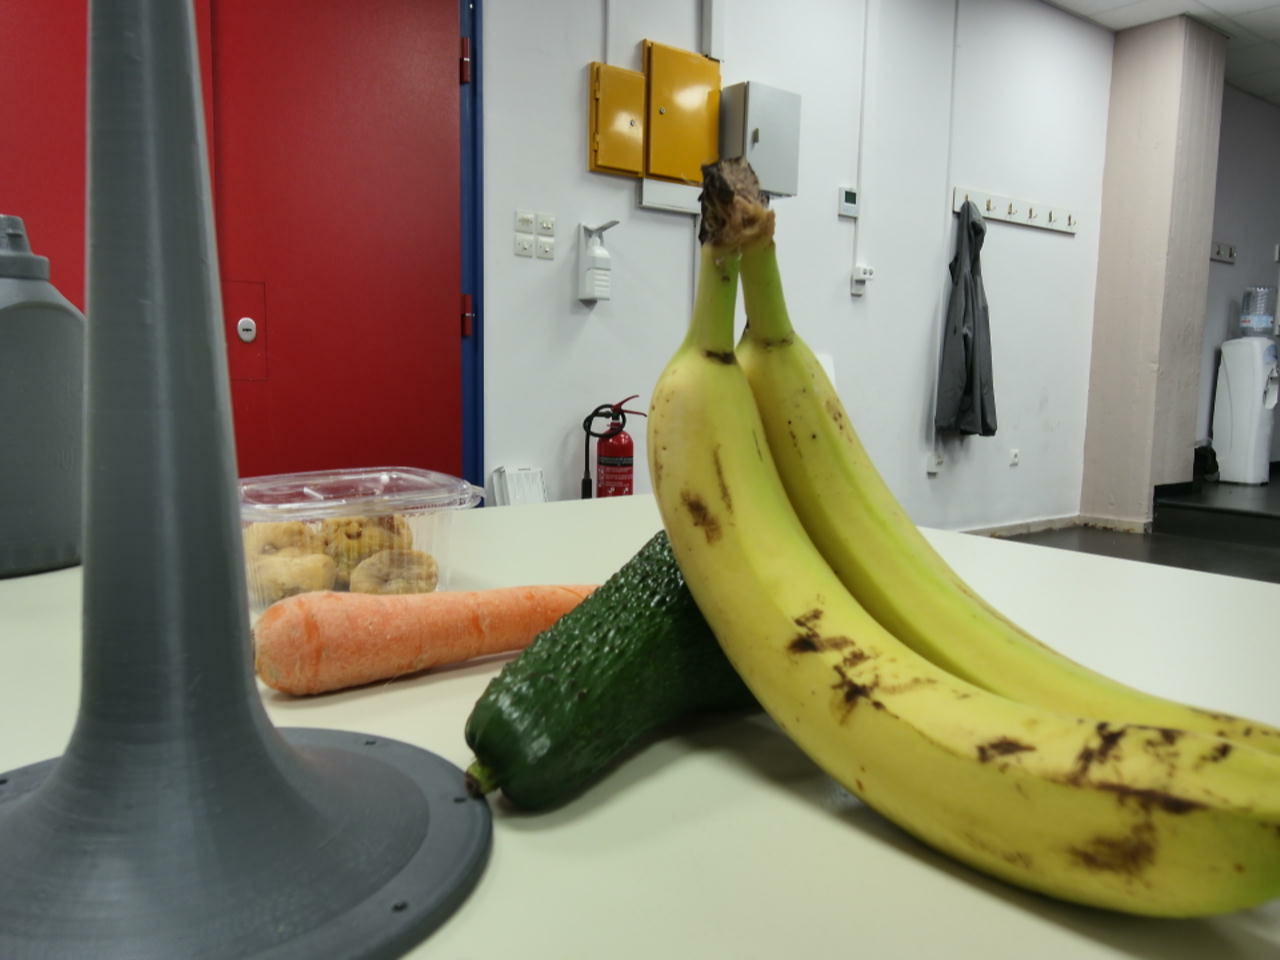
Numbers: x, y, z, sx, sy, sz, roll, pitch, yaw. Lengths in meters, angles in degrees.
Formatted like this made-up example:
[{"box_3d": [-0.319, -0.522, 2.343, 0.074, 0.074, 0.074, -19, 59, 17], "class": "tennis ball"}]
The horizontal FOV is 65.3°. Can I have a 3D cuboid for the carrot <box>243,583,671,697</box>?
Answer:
[{"box_3d": [-0.066, 0.058, 0.426, 0.196, 0.041, 0.039, -5, 6, -37], "class": "carrot"}]
